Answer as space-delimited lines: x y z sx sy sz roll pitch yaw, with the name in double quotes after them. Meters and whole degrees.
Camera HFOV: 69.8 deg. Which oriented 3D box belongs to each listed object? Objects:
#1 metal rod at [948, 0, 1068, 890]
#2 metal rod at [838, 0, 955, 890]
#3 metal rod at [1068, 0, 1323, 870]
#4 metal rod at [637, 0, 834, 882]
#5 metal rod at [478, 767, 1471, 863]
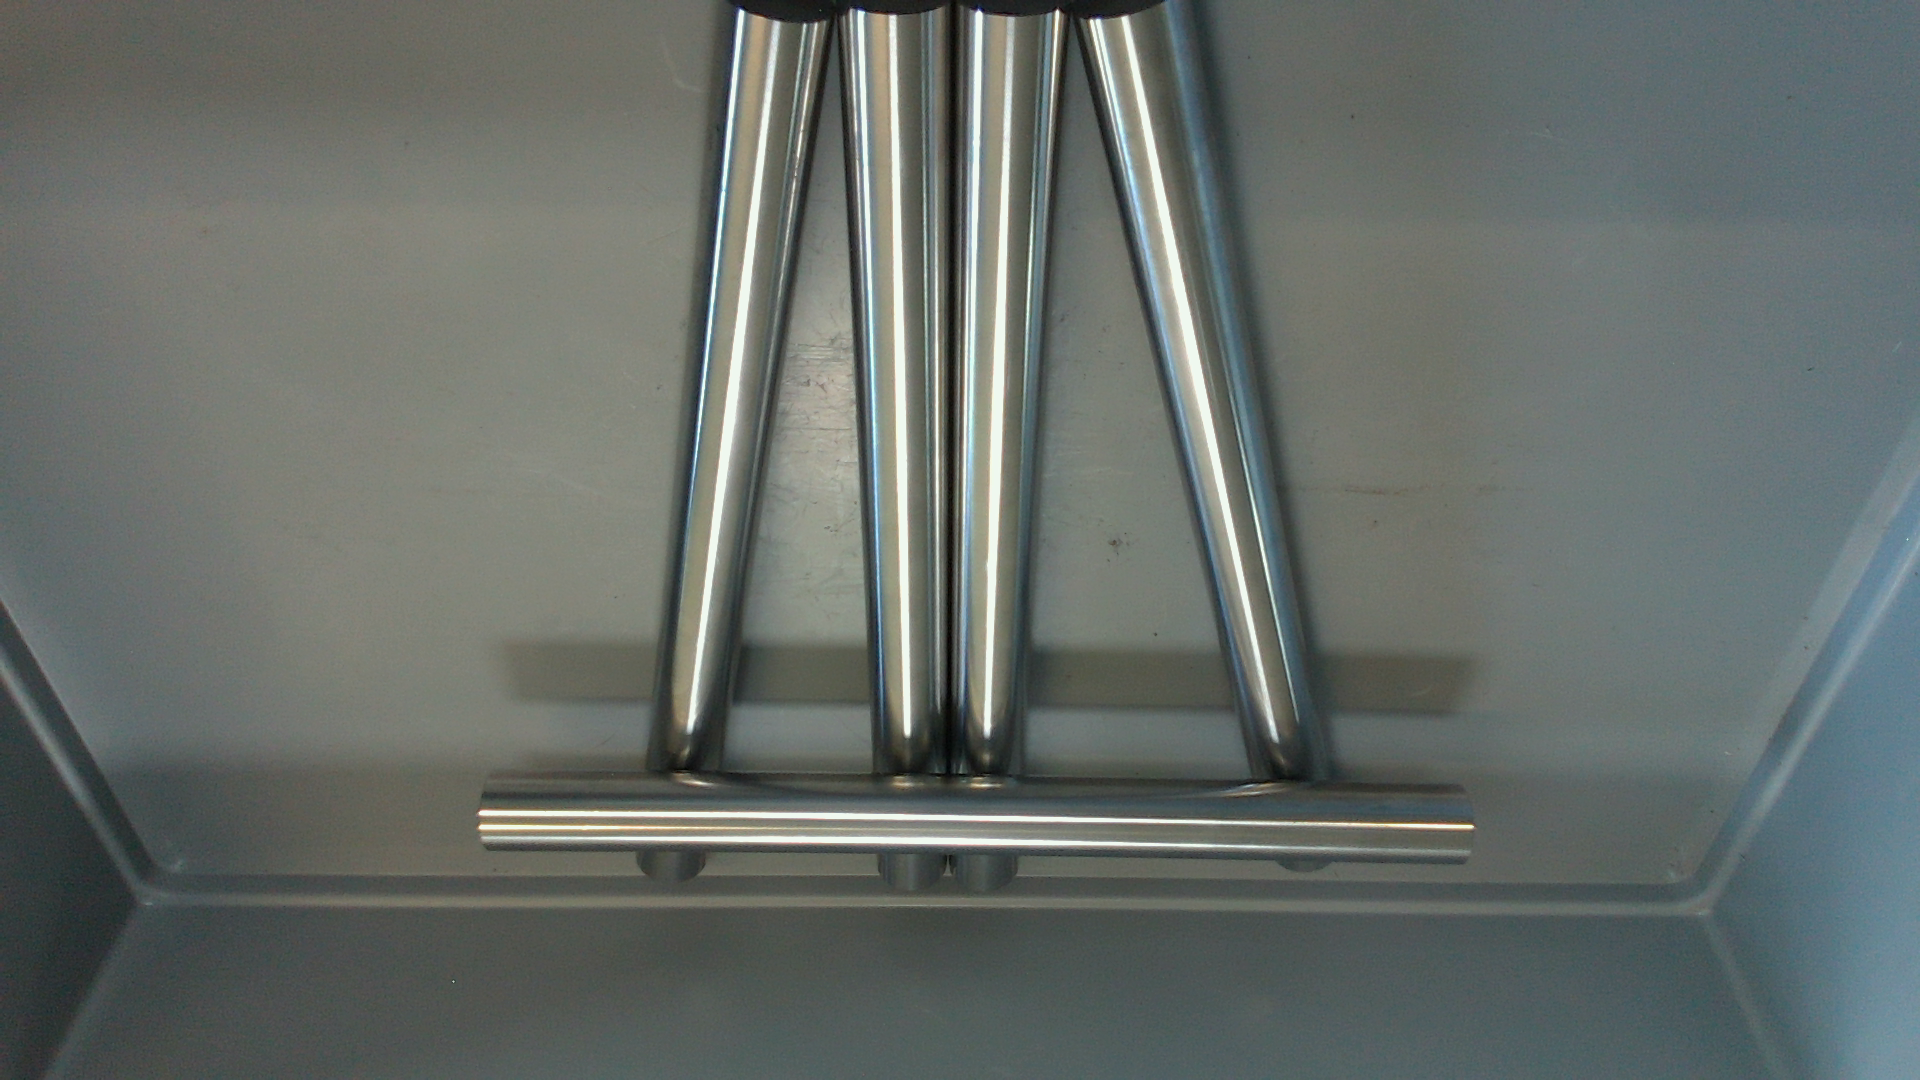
0.009 -0.002 0.388 0.025 0.025 0.300 0 130 0 "metal rod"
-0.015 -0.001 0.388 0.025 0.025 0.300 0 130 -1 "metal rod"
0.077 -0.006 0.385 0.025 0.025 0.300 -12 129 10 "metal rod"
-0.070 -0.003 0.387 0.025 0.025 0.300 9 130 -8 "metal rod"
0.005 0.086 0.428 0.300 0.025 0.025 1 130 -1 "metal rod"
